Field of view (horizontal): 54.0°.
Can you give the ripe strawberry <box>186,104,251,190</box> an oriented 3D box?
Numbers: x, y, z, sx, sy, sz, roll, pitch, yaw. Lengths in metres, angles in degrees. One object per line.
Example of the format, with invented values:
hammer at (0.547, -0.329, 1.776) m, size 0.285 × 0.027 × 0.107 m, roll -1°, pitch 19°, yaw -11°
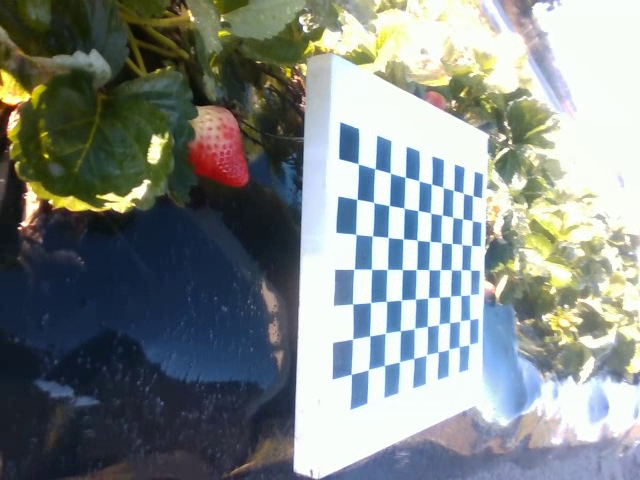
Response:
ripe strawberry at (-0.061, -0.052, 0.377) m, size 0.040 × 0.040 × 0.065 m, roll -2°, pitch -44°, yaw 34°
